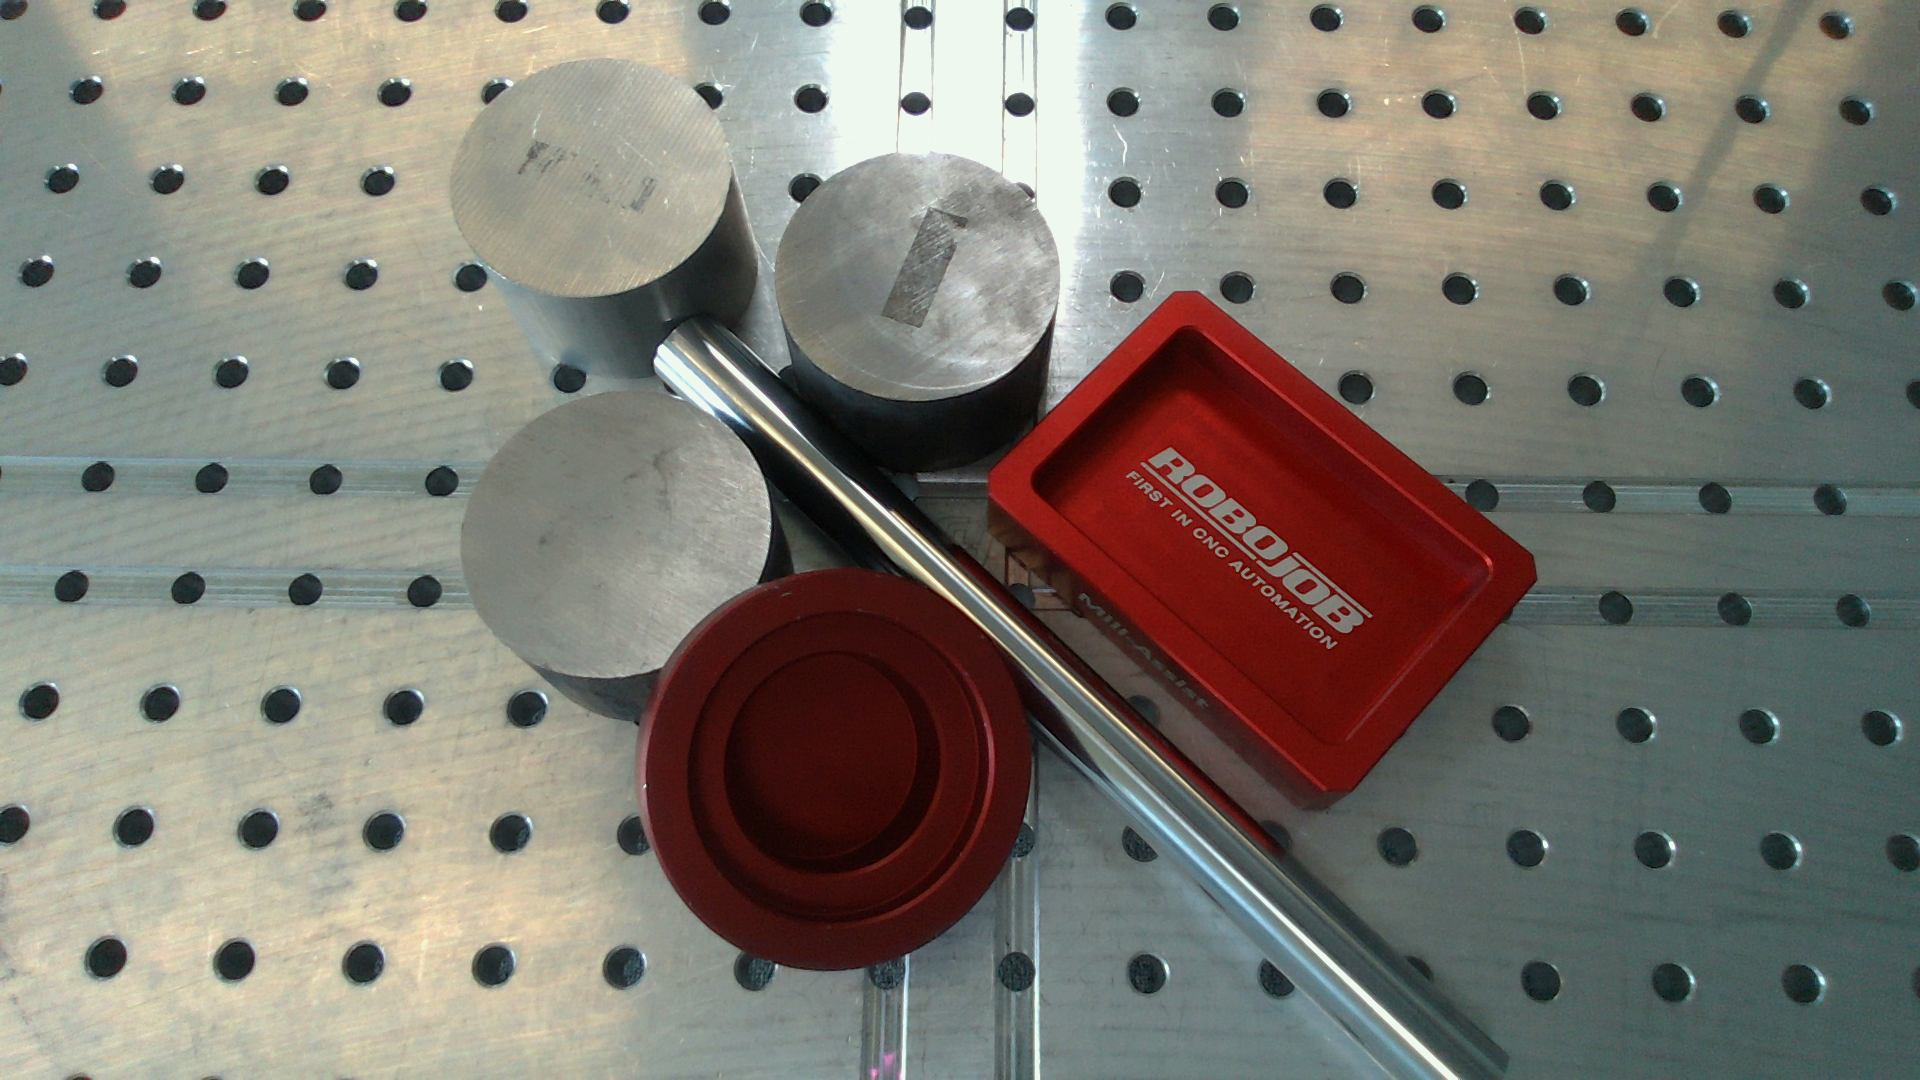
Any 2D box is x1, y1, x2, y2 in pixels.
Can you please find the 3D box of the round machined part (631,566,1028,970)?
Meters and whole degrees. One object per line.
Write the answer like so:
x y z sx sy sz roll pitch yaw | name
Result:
-0.035 0.057 0.356 0.098 0.042 0.098 2 85 -18 | round machined part

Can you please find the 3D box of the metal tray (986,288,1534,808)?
0.082 0.000 0.394 0.130 0.030 0.090 42 76 14 | metal tray

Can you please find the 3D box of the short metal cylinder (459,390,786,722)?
-0.090 0.006 0.381 0.080 0.050 0.080 0 70 0 | short metal cylinder

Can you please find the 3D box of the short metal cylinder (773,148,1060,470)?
-0.012 -0.067 0.407 0.080 0.050 0.080 0 70 0 | short metal cylinder

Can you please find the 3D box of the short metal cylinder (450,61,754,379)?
-0.106 -0.096 0.419 0.080 0.050 0.080 0 70 0 | short metal cylinder

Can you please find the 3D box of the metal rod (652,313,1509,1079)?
0.023 0.040 0.383 0.300 0.025 0.025 43 75 14 | metal rod
